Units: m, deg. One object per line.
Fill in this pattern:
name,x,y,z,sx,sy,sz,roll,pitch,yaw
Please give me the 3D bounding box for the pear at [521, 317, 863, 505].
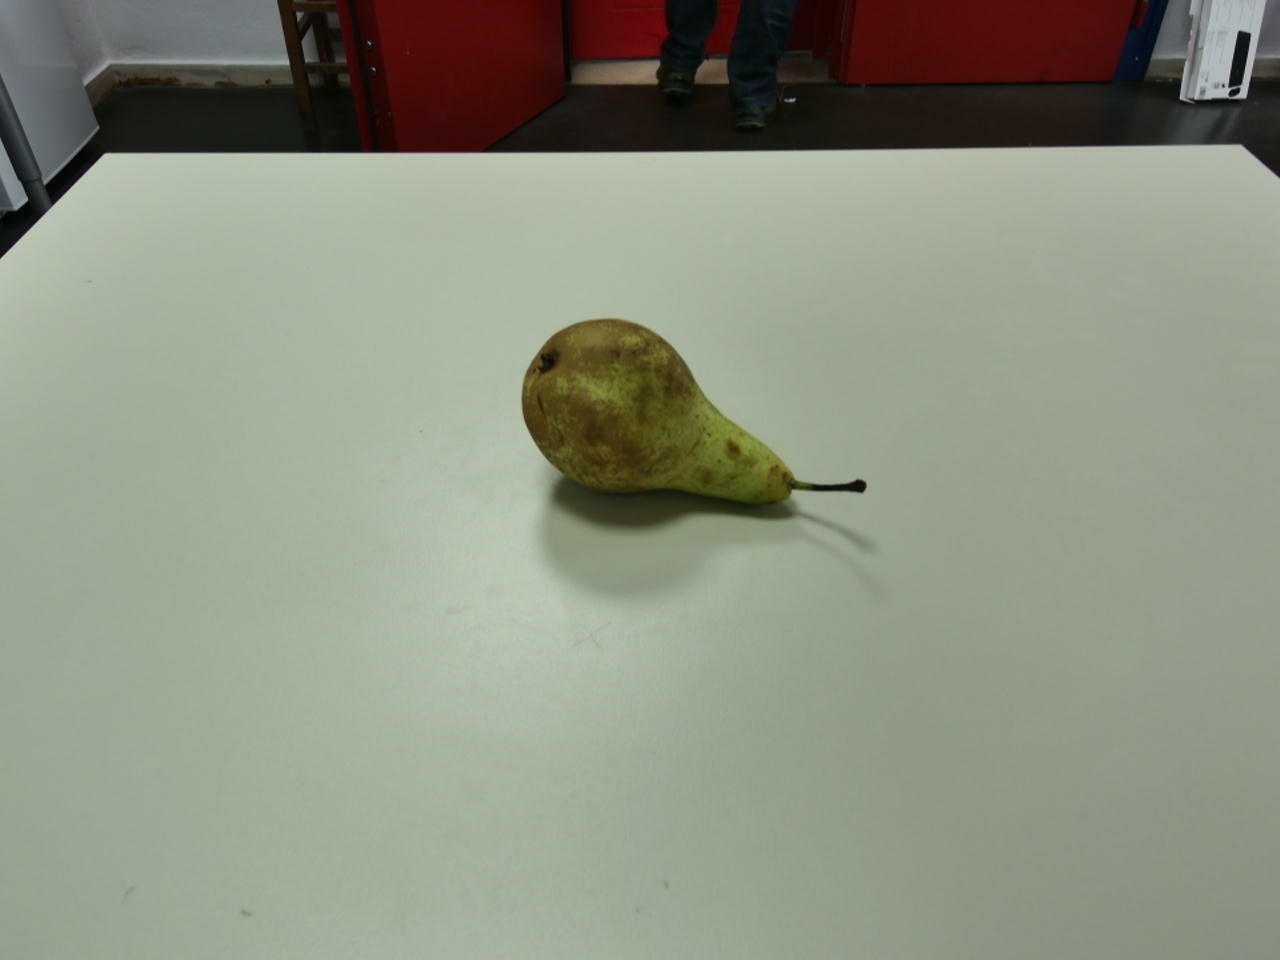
pear,0.022,-0.029,0.422,0.144,0.075,0.071,4,39,6
